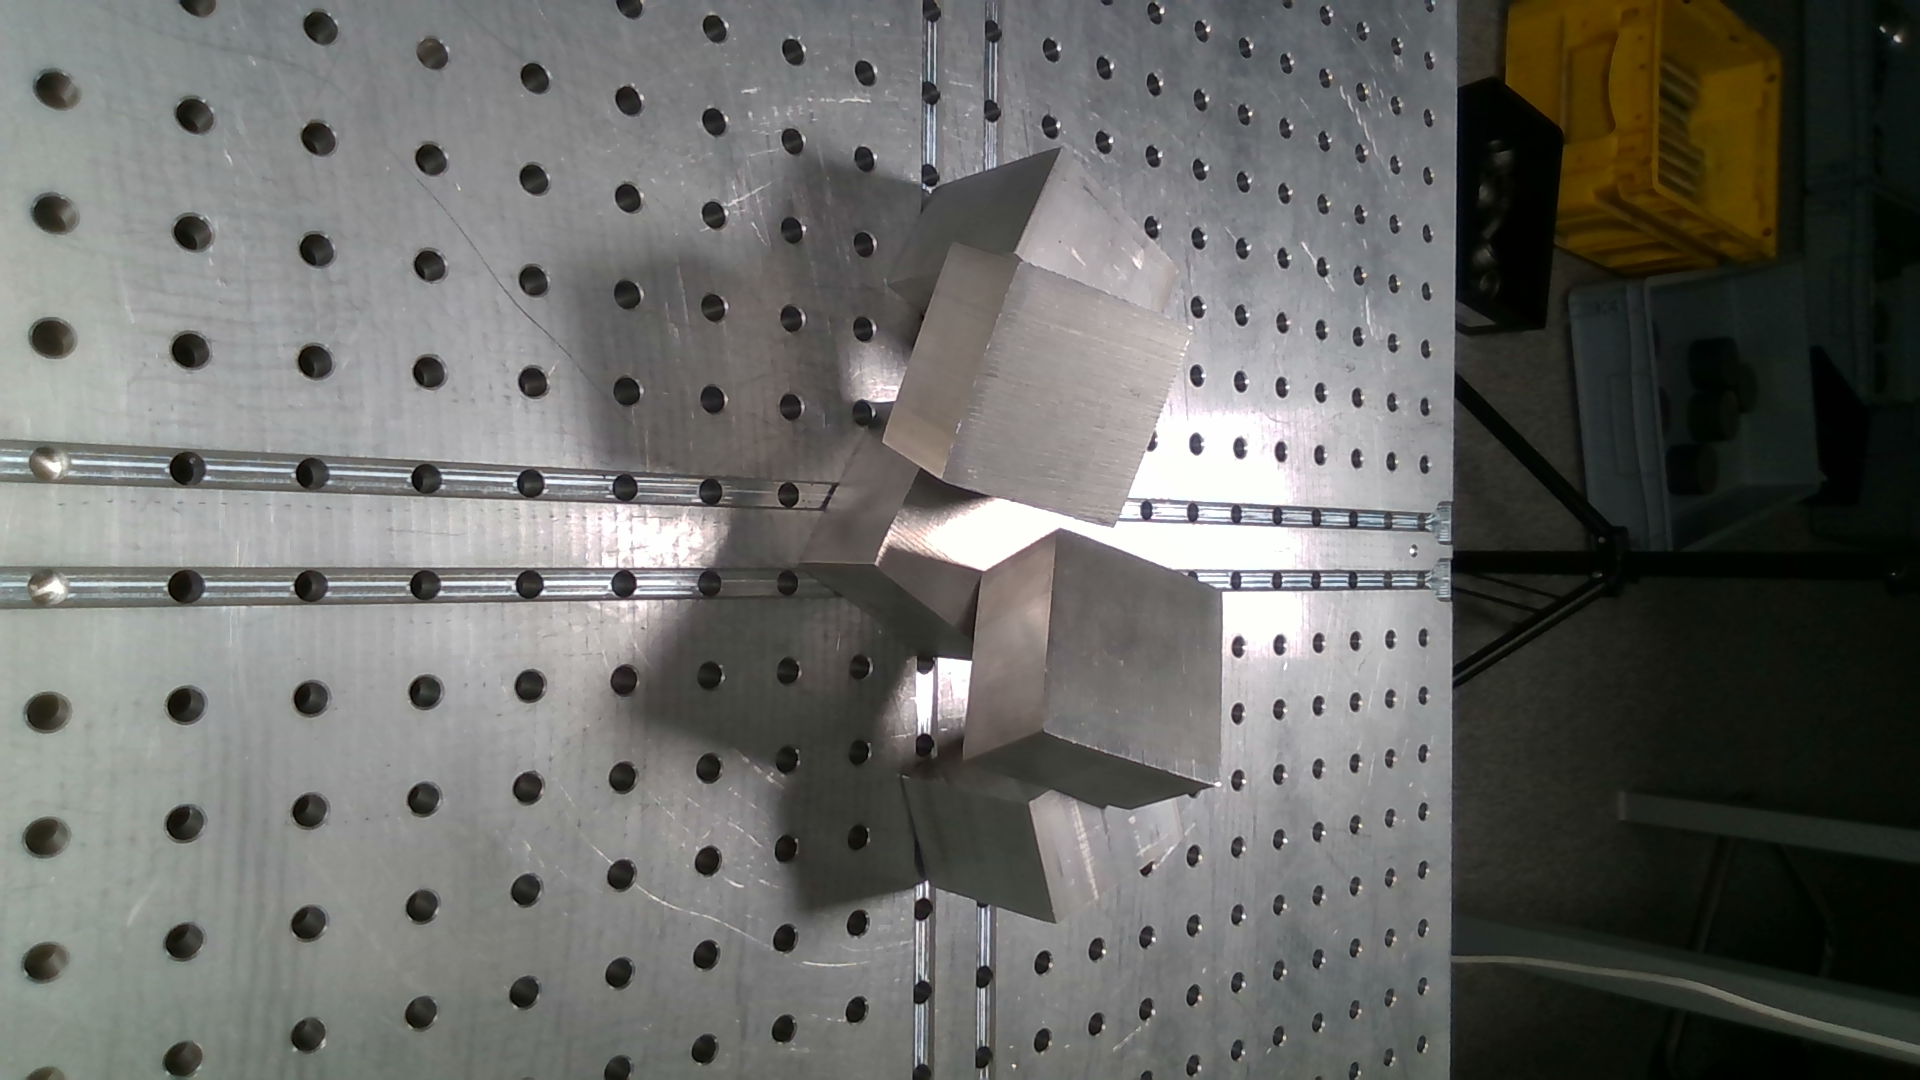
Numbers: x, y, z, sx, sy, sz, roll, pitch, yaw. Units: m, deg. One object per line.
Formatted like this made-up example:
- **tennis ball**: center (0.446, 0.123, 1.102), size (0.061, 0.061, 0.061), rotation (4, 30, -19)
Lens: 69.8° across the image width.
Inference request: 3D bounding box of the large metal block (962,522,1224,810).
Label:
- **large metal block**: center (0.052, 0.050, 0.523), size (0.080, 0.050, 0.080), rotation (20, 61, -25)

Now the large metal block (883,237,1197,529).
- **large metal block**: center (0.028, -0.057, 0.508), size (0.080, 0.050, 0.080), rotation (14, 102, -33)

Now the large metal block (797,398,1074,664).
- **large metal block**: center (-0.007, -0.003, 0.563), size (0.080, 0.050, 0.080), rotation (39, 66, -33)

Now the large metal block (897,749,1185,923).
- **large metal block**: center (0.034, 0.112, 0.579), size (0.080, 0.080, 0.050), rotation (-21, 103, -38)

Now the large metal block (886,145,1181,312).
- **large metal block**: center (0.031, -0.111, 0.575), size (0.080, 0.080, 0.050), rotation (37, 67, -34)
